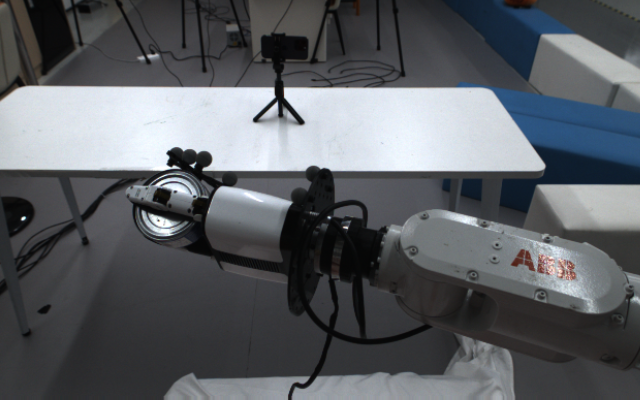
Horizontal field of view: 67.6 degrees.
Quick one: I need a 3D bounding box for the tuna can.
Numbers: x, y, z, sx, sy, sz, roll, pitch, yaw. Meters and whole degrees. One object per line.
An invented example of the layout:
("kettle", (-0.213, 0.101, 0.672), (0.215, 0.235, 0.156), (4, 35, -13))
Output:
("tuna can", (-0.163, 0.009, 0.550), (0.085, 0.034, 0.085), (-4, 67, 10))
